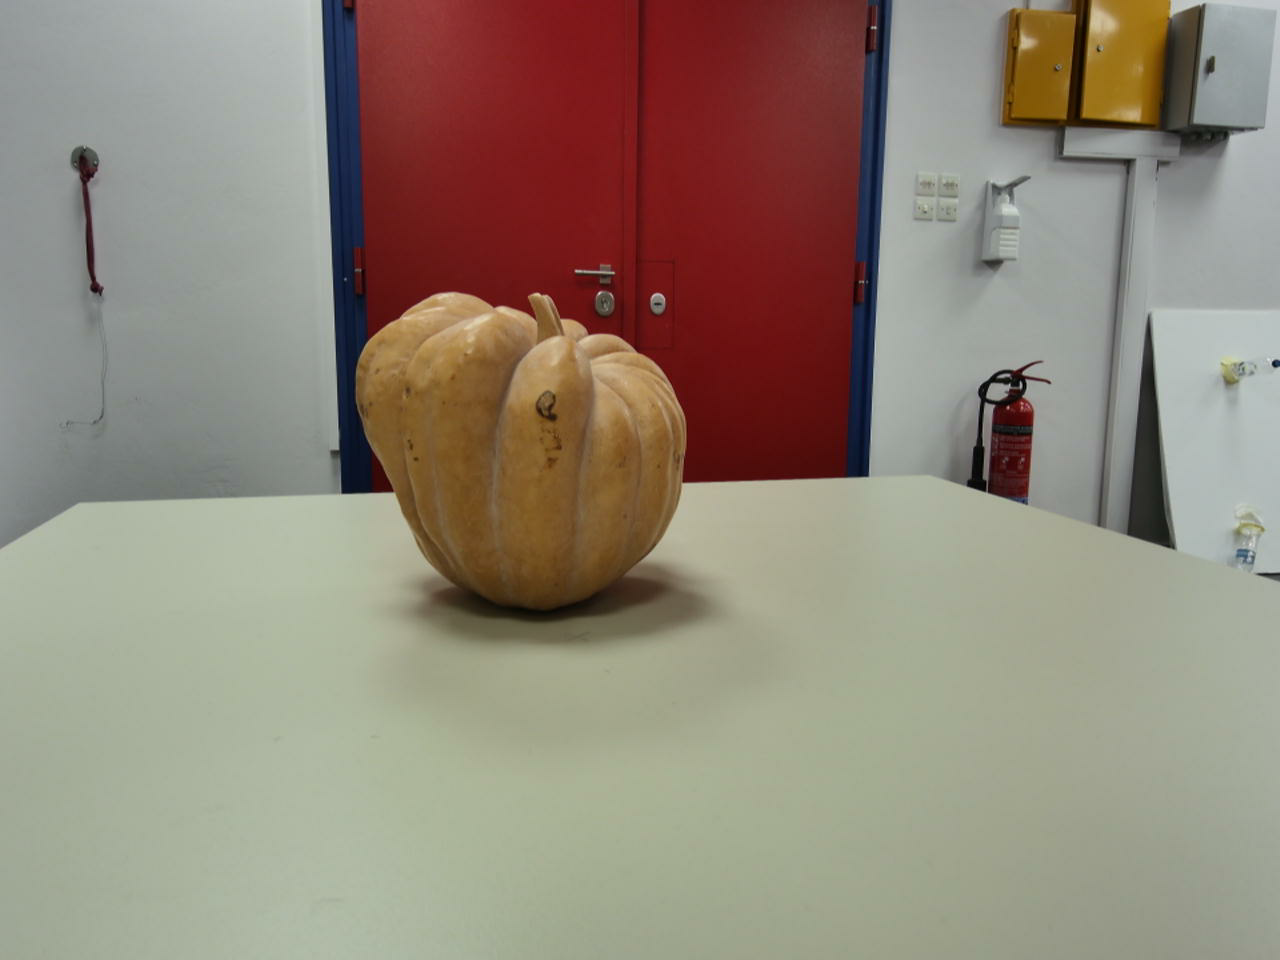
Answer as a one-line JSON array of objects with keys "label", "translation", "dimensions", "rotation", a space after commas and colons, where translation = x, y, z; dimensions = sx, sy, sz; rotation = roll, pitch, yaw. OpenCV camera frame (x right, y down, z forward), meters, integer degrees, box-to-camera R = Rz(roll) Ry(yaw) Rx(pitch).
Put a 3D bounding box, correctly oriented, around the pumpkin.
[{"label": "pumpkin", "translation": [-0.066, -0.019, 0.576], "dimensions": [0.199, 0.177, 0.198], "rotation": [0, 8, 0]}]
